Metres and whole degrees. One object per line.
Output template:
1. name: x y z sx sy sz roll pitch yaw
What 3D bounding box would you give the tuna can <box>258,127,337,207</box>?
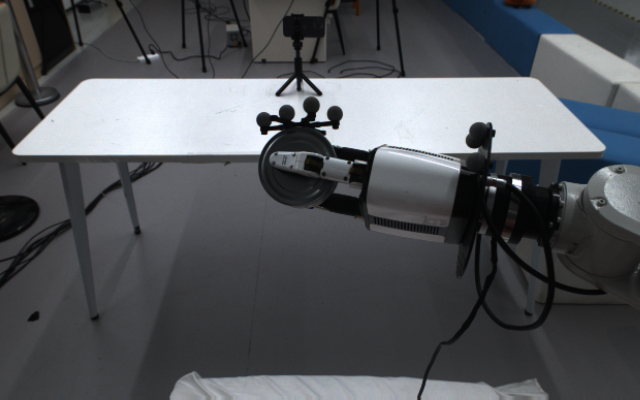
1. tuna can: -0.018 -0.030 0.524 0.085 0.085 0.034 10 -6 11
